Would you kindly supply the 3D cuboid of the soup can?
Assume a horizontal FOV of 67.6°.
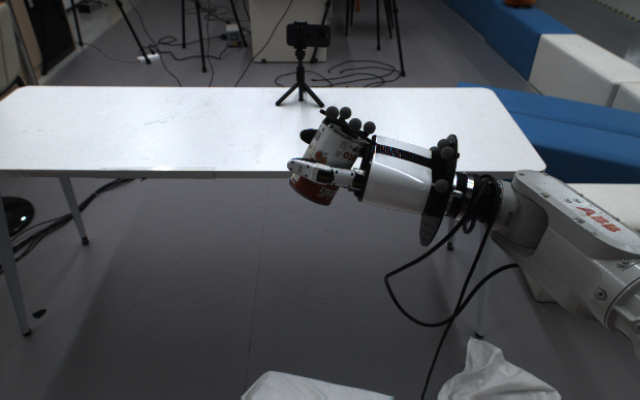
[{"bbox_3d":[0.010,-0.053,0.666,0.067,0.101,0.067,27,18,-10],"label":"soup can"}]
